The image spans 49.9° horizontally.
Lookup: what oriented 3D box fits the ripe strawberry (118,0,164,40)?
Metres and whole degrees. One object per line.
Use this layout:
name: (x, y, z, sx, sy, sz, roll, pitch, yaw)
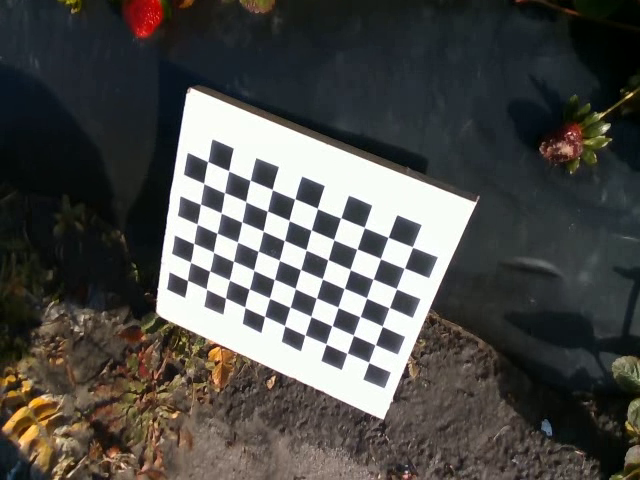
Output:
ripe strawberry: (-0.169, -0.199, 0.616, 0.040, 0.056, 0.040, -27, -32, 35)
